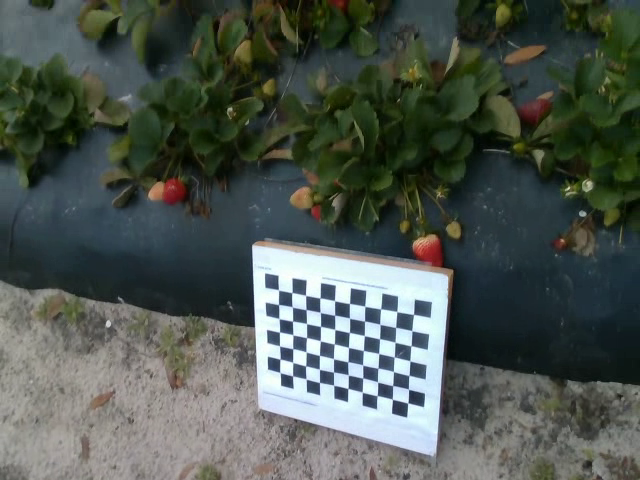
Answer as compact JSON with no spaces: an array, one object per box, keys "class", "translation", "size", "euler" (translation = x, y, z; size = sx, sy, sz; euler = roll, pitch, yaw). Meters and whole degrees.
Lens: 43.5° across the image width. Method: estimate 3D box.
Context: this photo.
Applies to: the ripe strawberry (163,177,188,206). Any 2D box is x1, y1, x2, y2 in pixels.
[{"class":"ripe strawberry","translation":[-0.215,-0.071,1.144],"size":[0.034,0.041,0.033],"euler":[38,-29,14]}]
